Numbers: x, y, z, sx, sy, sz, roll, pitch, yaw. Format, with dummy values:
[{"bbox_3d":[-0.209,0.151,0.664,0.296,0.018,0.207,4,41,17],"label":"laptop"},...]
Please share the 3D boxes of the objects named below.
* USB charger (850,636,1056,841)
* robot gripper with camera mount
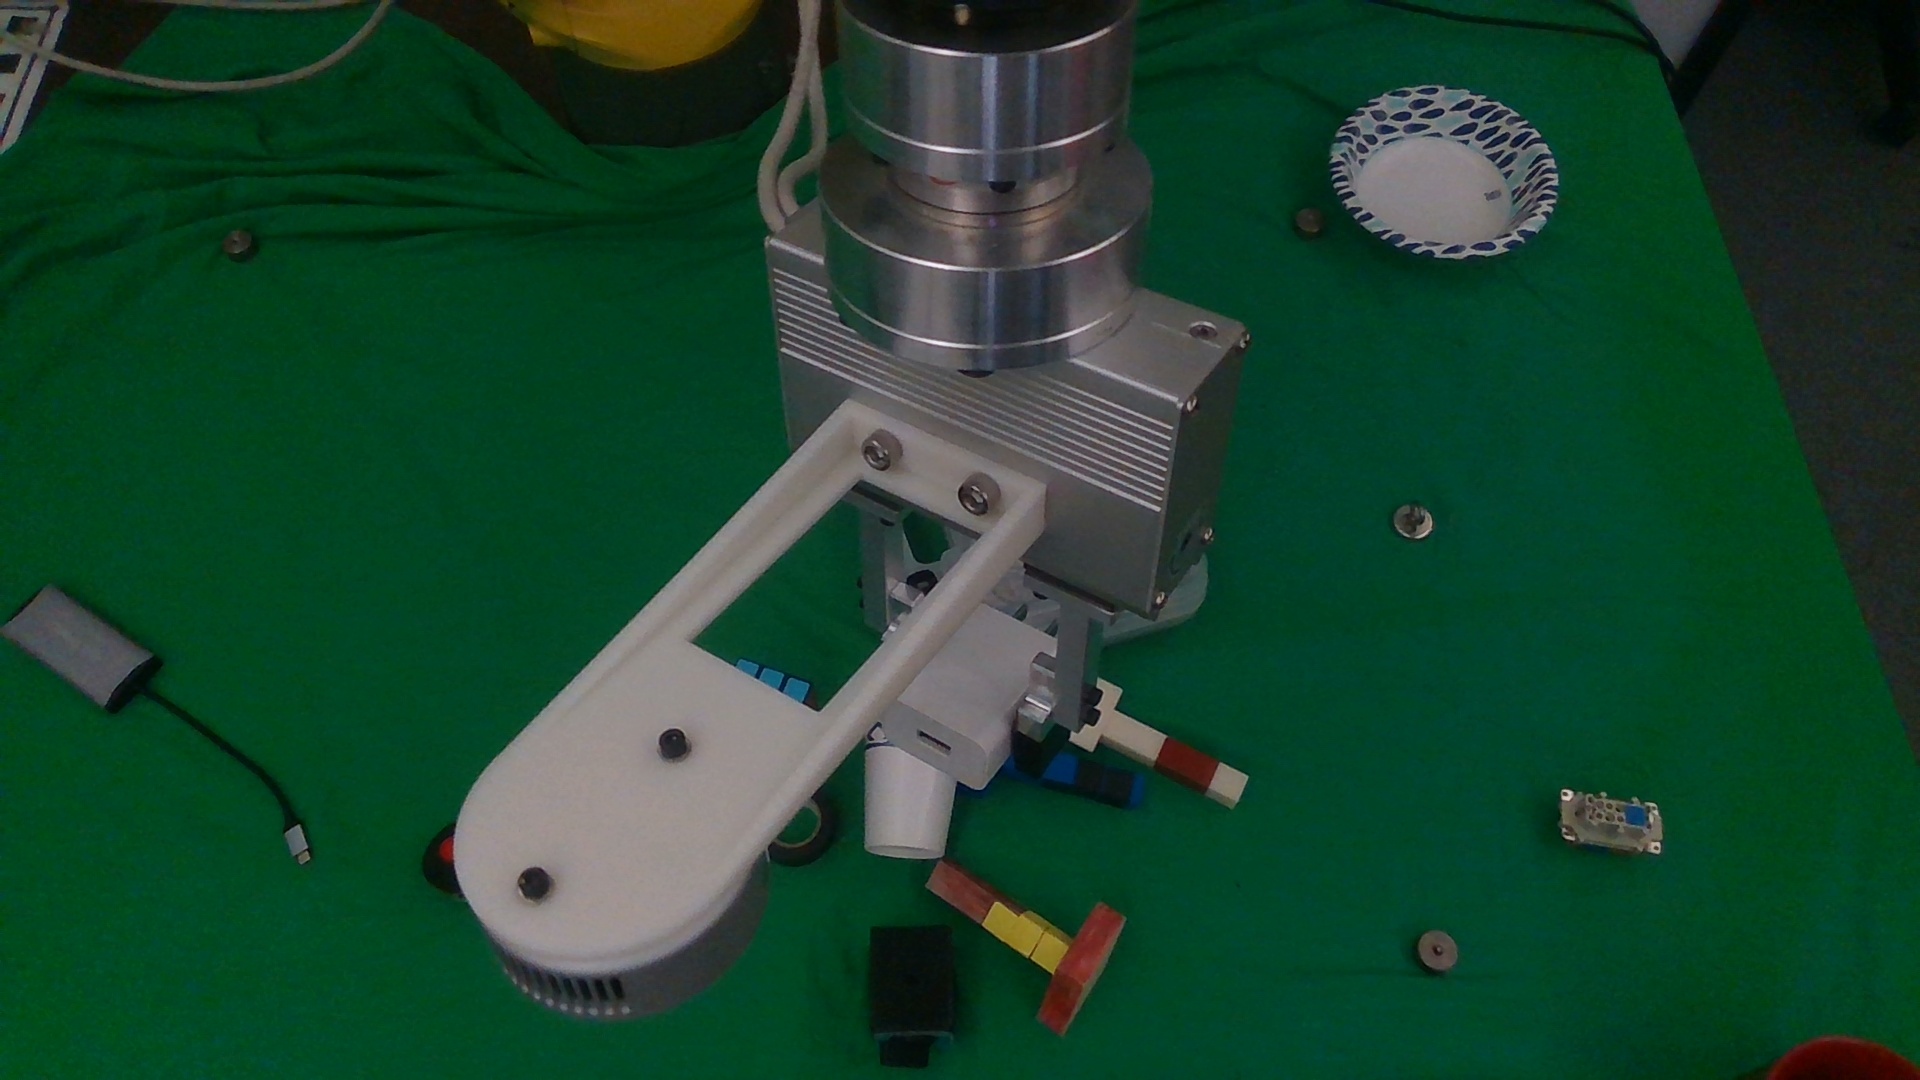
[{"bbox_3d":[0.003,0.058,0.455,0.045,0.029,0.075,36,54,22],"label":"USB charger"},{"bbox_3d":[-0.039,0.052,0.350,0.119,0.158,0.193,24,45,23],"label":"robot gripper with camera mount"}]
